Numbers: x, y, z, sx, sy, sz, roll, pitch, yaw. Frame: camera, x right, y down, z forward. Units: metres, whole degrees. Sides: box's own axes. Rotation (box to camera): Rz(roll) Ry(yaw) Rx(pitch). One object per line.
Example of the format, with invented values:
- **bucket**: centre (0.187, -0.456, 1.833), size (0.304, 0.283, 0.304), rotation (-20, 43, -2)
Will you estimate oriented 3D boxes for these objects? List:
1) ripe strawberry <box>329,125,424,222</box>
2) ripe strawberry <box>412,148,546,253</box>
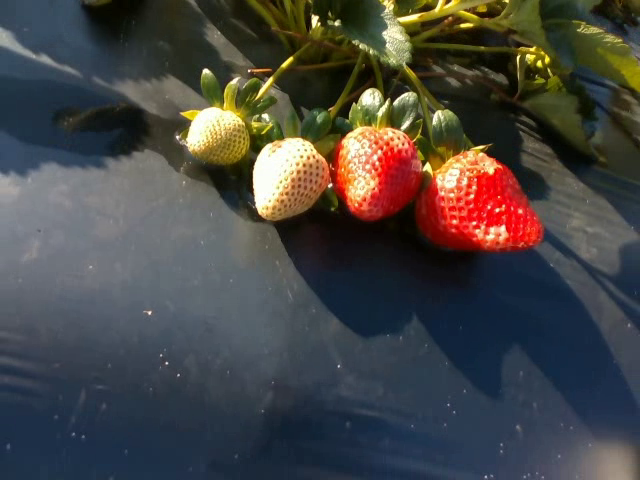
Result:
- **ripe strawberry**: centre (0.023, -0.027, 0.249), size (0.043, 0.050, 0.061), rotation (-37, 17, 34)
- **ripe strawberry**: centre (0.074, -0.012, 0.257), size (0.056, 0.052, 0.067), rotation (-33, 45, -13)
